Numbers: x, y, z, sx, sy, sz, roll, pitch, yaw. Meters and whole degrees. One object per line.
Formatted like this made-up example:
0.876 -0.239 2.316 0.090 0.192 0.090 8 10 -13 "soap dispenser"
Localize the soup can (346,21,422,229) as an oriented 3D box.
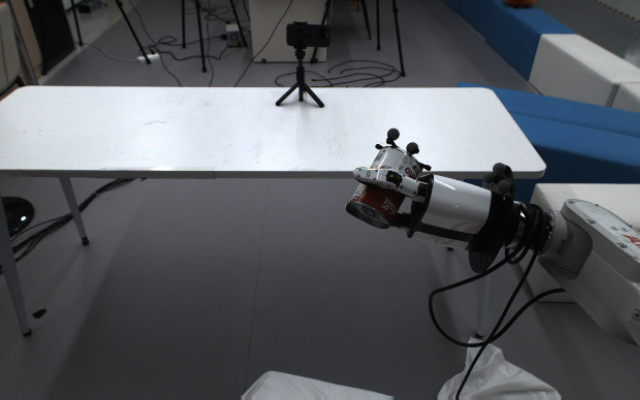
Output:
0.094 -0.019 0.696 0.067 0.067 0.101 22 71 27 "soup can"
